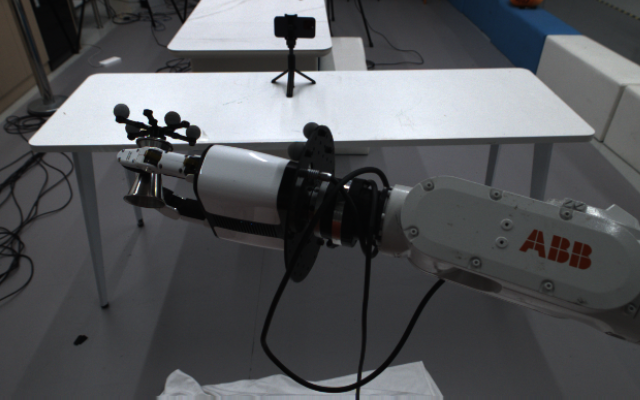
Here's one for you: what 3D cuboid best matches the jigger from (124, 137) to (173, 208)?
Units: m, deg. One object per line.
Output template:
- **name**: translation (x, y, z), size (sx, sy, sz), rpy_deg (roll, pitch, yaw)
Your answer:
- **jigger**: translation (-0.188, -0.031, 0.527), size (0.043, 0.043, 0.071), rpy_deg (3, 72, 1)
